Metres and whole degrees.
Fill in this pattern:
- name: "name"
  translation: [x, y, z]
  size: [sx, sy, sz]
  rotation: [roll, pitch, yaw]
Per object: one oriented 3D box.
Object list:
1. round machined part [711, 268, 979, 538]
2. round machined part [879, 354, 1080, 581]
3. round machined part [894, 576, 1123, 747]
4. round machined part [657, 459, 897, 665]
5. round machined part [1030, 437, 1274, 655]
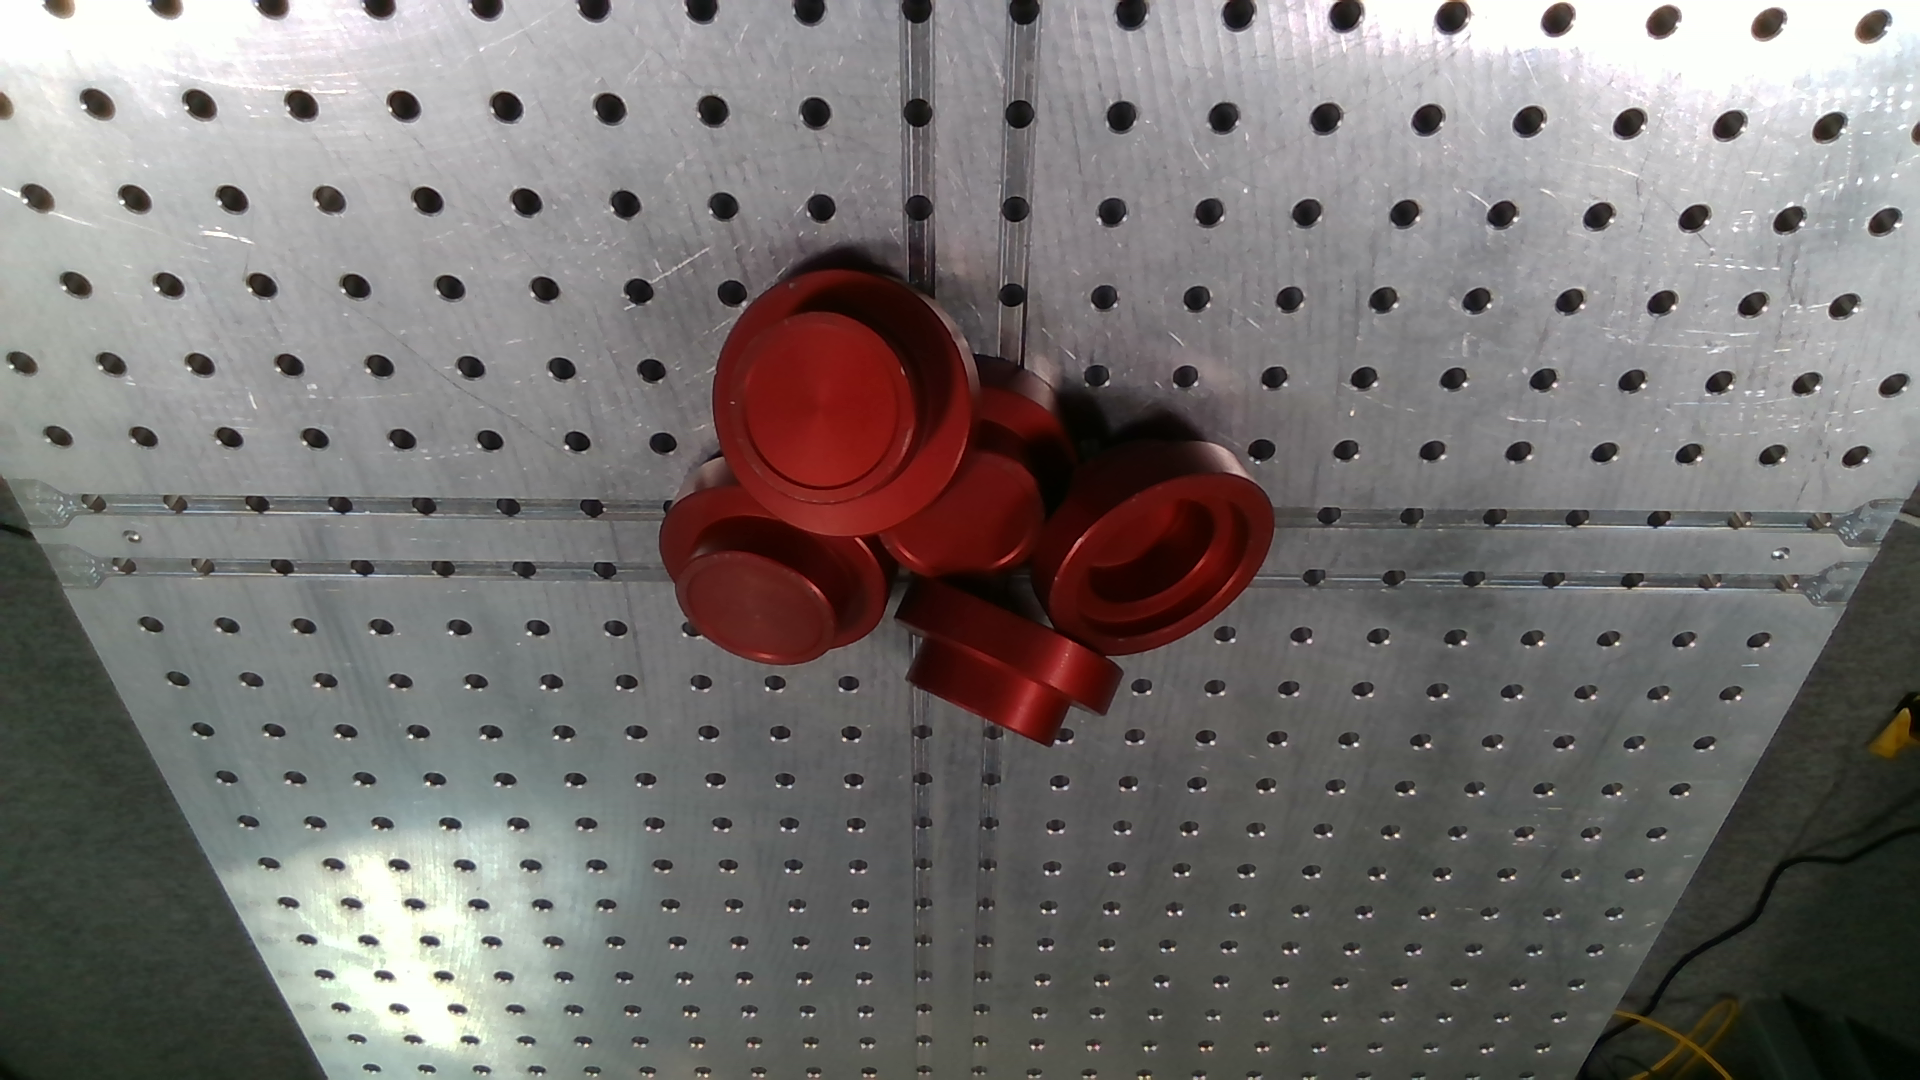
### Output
- name: "round machined part"
  translation: [-0.045, -0.049, 0.499]
  size: [0.098, 0.042, 0.098]
  rotation: [2, 100, 12]
- name: "round machined part"
  translation: [0.000, -0.022, 0.551]
  size: [0.098, 0.042, 0.098]
  rotation: [0, 130, 0]
- name: "round machined part"
  translation: [0.016, 0.054, 0.579]
  size: [0.098, 0.098, 0.042]
  rotation: [27, 84, -21]
- name: "round machined part"
  translation: [-0.078, 0.014, 0.567]
  size: [0.098, 0.042, 0.098]
  rotation: [8, 137, 8]
- name: "round machined part"
  translation: [0.073, -0.002, 0.555]
  size: [0.098, 0.042, 0.098]
  rotation: [-15, 137, -15]
